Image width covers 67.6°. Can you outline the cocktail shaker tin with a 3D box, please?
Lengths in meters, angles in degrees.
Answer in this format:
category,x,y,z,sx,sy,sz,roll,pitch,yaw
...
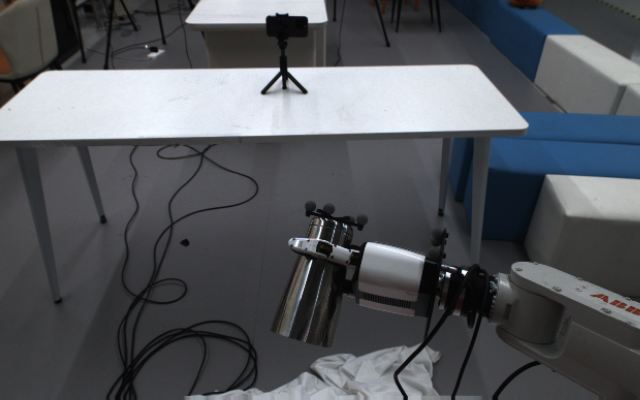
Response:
category,x,y,z,sx,sy,sz,roll,pitch,yaw
cocktail shaker tin,-0.002,0.113,0.699,0.093,0.093,0.170,13,77,15
